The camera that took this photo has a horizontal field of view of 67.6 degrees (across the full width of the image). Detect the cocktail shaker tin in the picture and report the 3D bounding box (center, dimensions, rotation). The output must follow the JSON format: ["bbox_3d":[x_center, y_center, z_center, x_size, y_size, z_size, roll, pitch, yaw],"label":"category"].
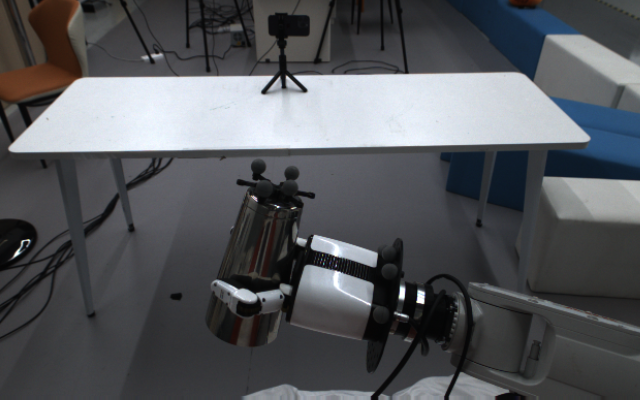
[{"bbox_3d":[-0.070,0.073,0.564,0.093,0.170,0.093,15,20,-5],"label":"cocktail shaker tin"}]
